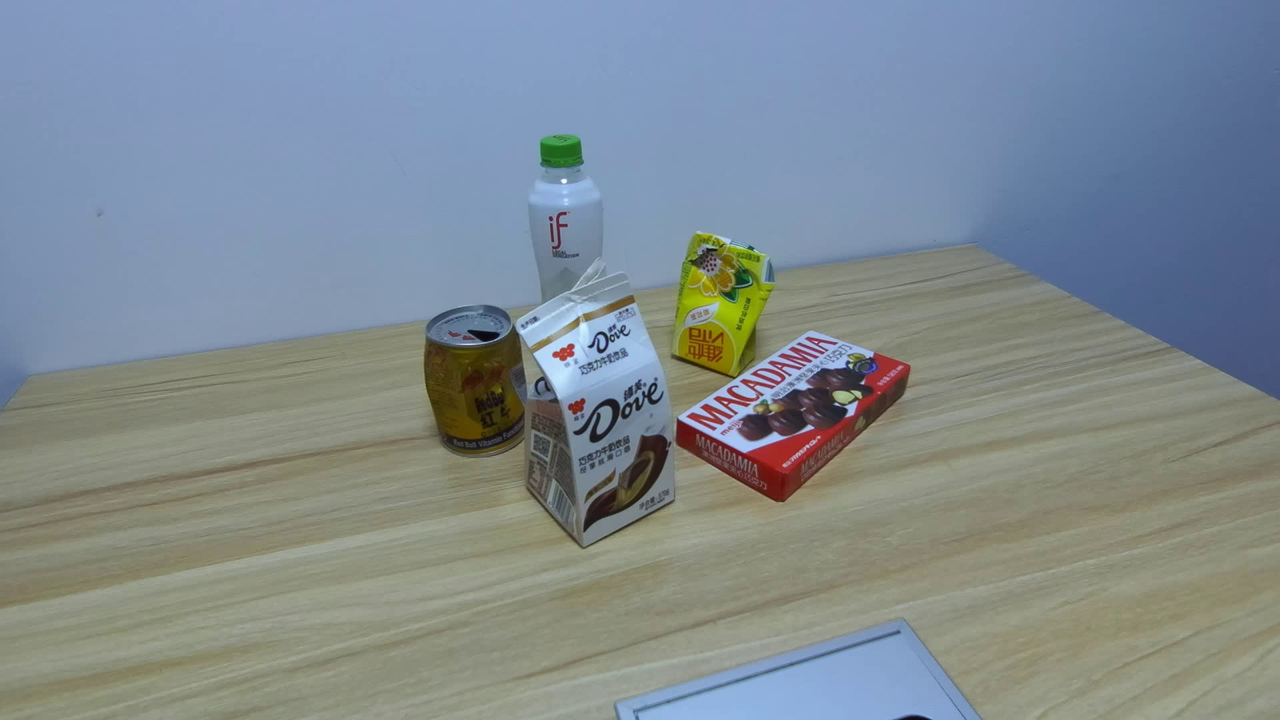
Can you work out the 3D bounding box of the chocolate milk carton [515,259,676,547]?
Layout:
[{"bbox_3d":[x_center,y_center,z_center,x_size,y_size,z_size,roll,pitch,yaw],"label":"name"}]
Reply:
[{"bbox_3d":[-0.028,0.022,0.429,0.076,0.156,0.073,-21,34,-29],"label":"chocolate milk carton"}]

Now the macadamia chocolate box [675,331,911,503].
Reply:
[{"bbox_3d":[0.120,0.033,0.533,0.095,0.027,0.178,26,40,37],"label":"macadamia chocolate box"}]

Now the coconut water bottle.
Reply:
[{"bbox_3d":[-0.057,-0.080,0.570,0.063,0.189,0.063,-2,27,1],"label":"coconut water bottle"}]

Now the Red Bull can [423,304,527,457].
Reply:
[{"bbox_3d":[-0.116,0.015,0.507,0.072,0.092,0.072,0,30,0],"label":"Red Bull can"}]

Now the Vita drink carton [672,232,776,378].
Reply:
[{"bbox_3d":[0.070,-0.049,0.594,0.086,0.108,0.042,21,22,27],"label":"Vita drink carton"}]
